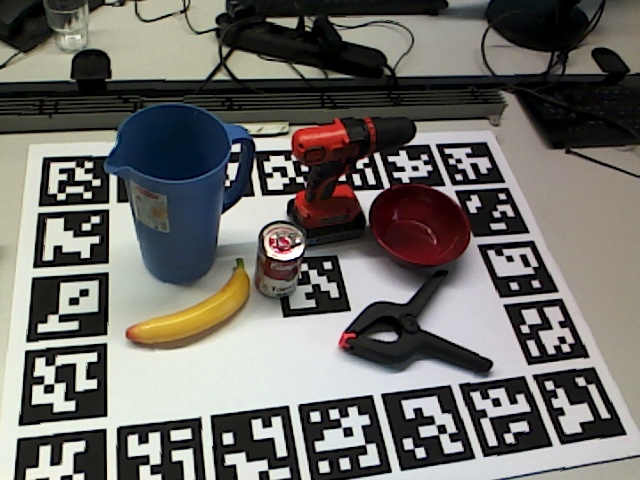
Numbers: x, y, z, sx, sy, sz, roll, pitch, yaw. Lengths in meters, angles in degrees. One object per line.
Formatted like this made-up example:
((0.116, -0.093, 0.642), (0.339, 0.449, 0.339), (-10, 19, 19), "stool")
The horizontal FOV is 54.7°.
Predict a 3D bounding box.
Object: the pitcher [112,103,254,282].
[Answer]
((-0.176, -0.057, 0.839), (0.188, 0.242, 0.134), (-26, 59, -26), "pitcher")

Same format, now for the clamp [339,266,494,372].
((0.126, 0.121, 0.874), (0.202, 0.036, 0.166), (-7, 59, -14), "clamp")

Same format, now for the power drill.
((0.047, -0.100, 0.917), (0.184, 0.187, 0.057), (-9, 56, -16), "power drill")

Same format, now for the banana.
((-0.172, 0.094, 0.858), (0.196, 0.039, 0.075), (-27, 54, -27), "banana")

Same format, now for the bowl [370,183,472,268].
((0.153, -0.013, 0.974), (0.161, 0.055, 0.162), (4, 55, -6), "bowl")

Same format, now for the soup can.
((-0.057, 0.025, 0.886), (0.068, 0.102, 0.068), (4, 45, -4), "soup can")
